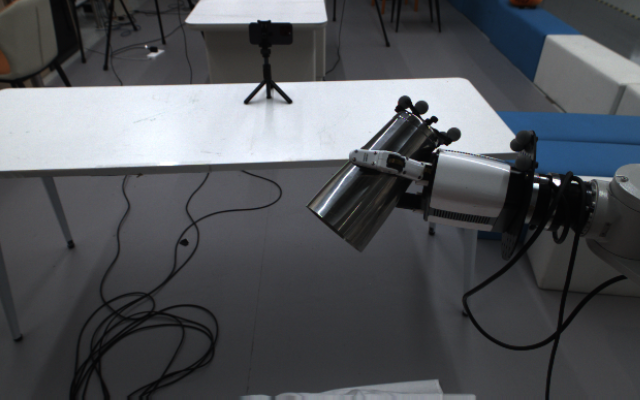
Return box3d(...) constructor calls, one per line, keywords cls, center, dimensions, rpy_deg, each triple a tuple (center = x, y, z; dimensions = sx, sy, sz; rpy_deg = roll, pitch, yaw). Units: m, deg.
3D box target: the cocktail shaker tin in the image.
box3d(cls="cocktail shaker tin", center=(0.073, -0.032, 0.616), dimensions=(0.170, 0.093, 0.093), rpy_deg=(-48, 49, -3))
